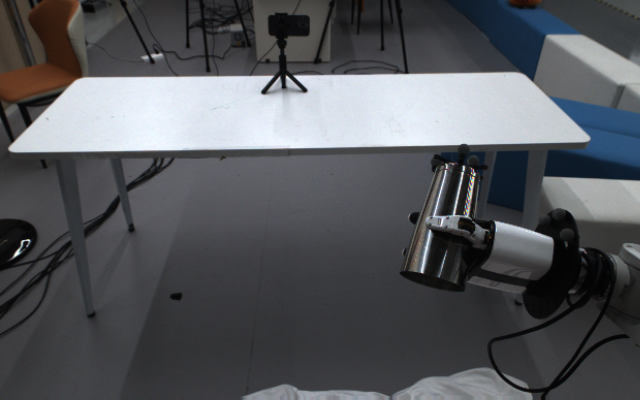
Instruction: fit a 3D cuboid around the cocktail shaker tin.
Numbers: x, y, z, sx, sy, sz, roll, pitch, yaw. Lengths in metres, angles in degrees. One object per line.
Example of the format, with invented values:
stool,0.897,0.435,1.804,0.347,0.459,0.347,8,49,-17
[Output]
cocktail shaker tin,0.180,0.036,0.698,0.093,0.093,0.170,14,73,16
